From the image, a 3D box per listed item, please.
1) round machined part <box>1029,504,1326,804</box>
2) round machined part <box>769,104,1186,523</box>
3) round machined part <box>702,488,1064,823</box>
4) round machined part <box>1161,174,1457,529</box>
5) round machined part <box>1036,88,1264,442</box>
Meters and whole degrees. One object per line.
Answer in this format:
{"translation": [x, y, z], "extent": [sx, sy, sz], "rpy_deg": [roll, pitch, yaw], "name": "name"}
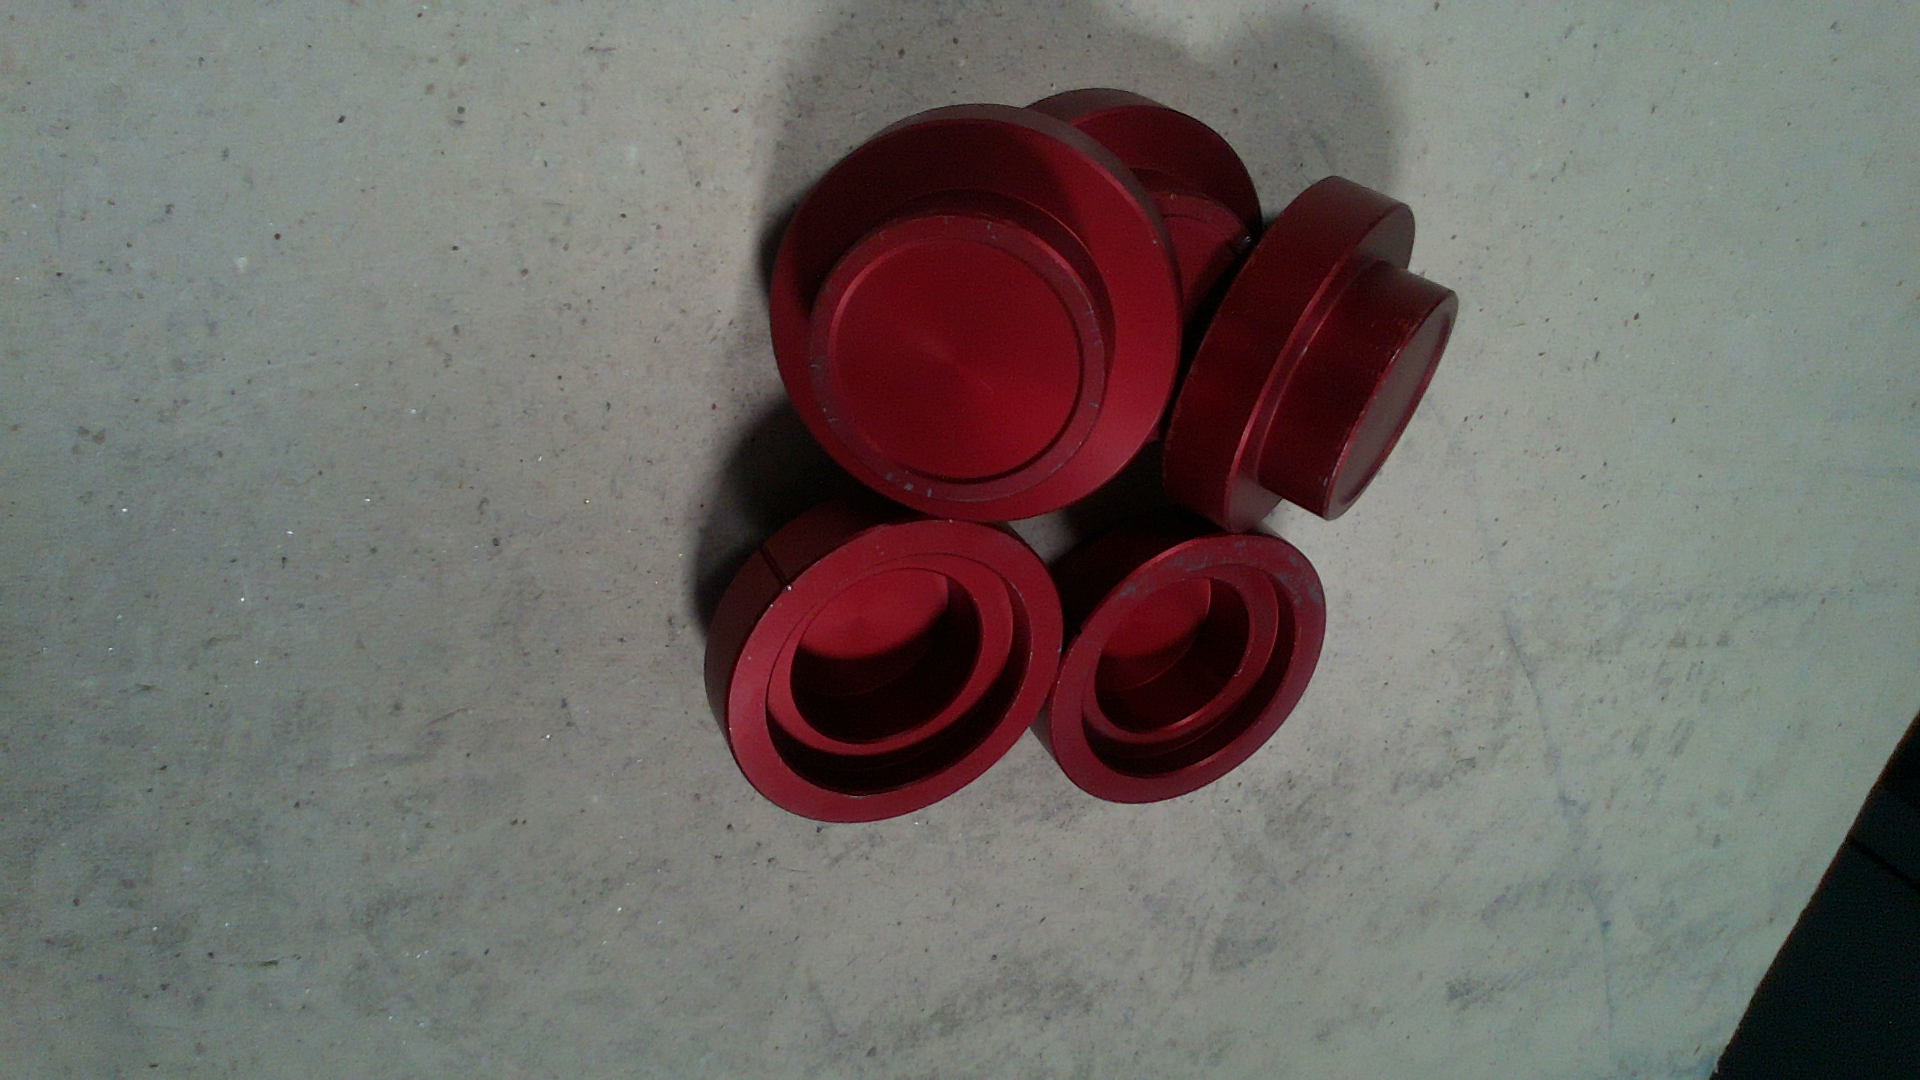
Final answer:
{"translation": [0.062, 0.031, 0.431], "extent": [0.098, 0.042, 0.098], "rpy_deg": [-14, 124, -21], "name": "round machined part"}
{"translation": [0.003, -0.048, 0.320], "extent": [0.098, 0.042, 0.098], "rpy_deg": [4, 117, 8], "name": "round machined part"}
{"translation": [-0.024, 0.027, 0.382], "extent": [0.098, 0.042, 0.098], "rpy_deg": [-14, 124, -21], "name": "round machined part"}
{"translation": [0.099, -0.045, 0.376], "extent": [0.098, 0.042, 0.098], "rpy_deg": [-46, 154, -29], "name": "round machined part"}
{"translation": [0.039, -0.064, 0.360], "extent": [0.098, 0.042, 0.098], "rpy_deg": [-14, 124, -21], "name": "round machined part"}
